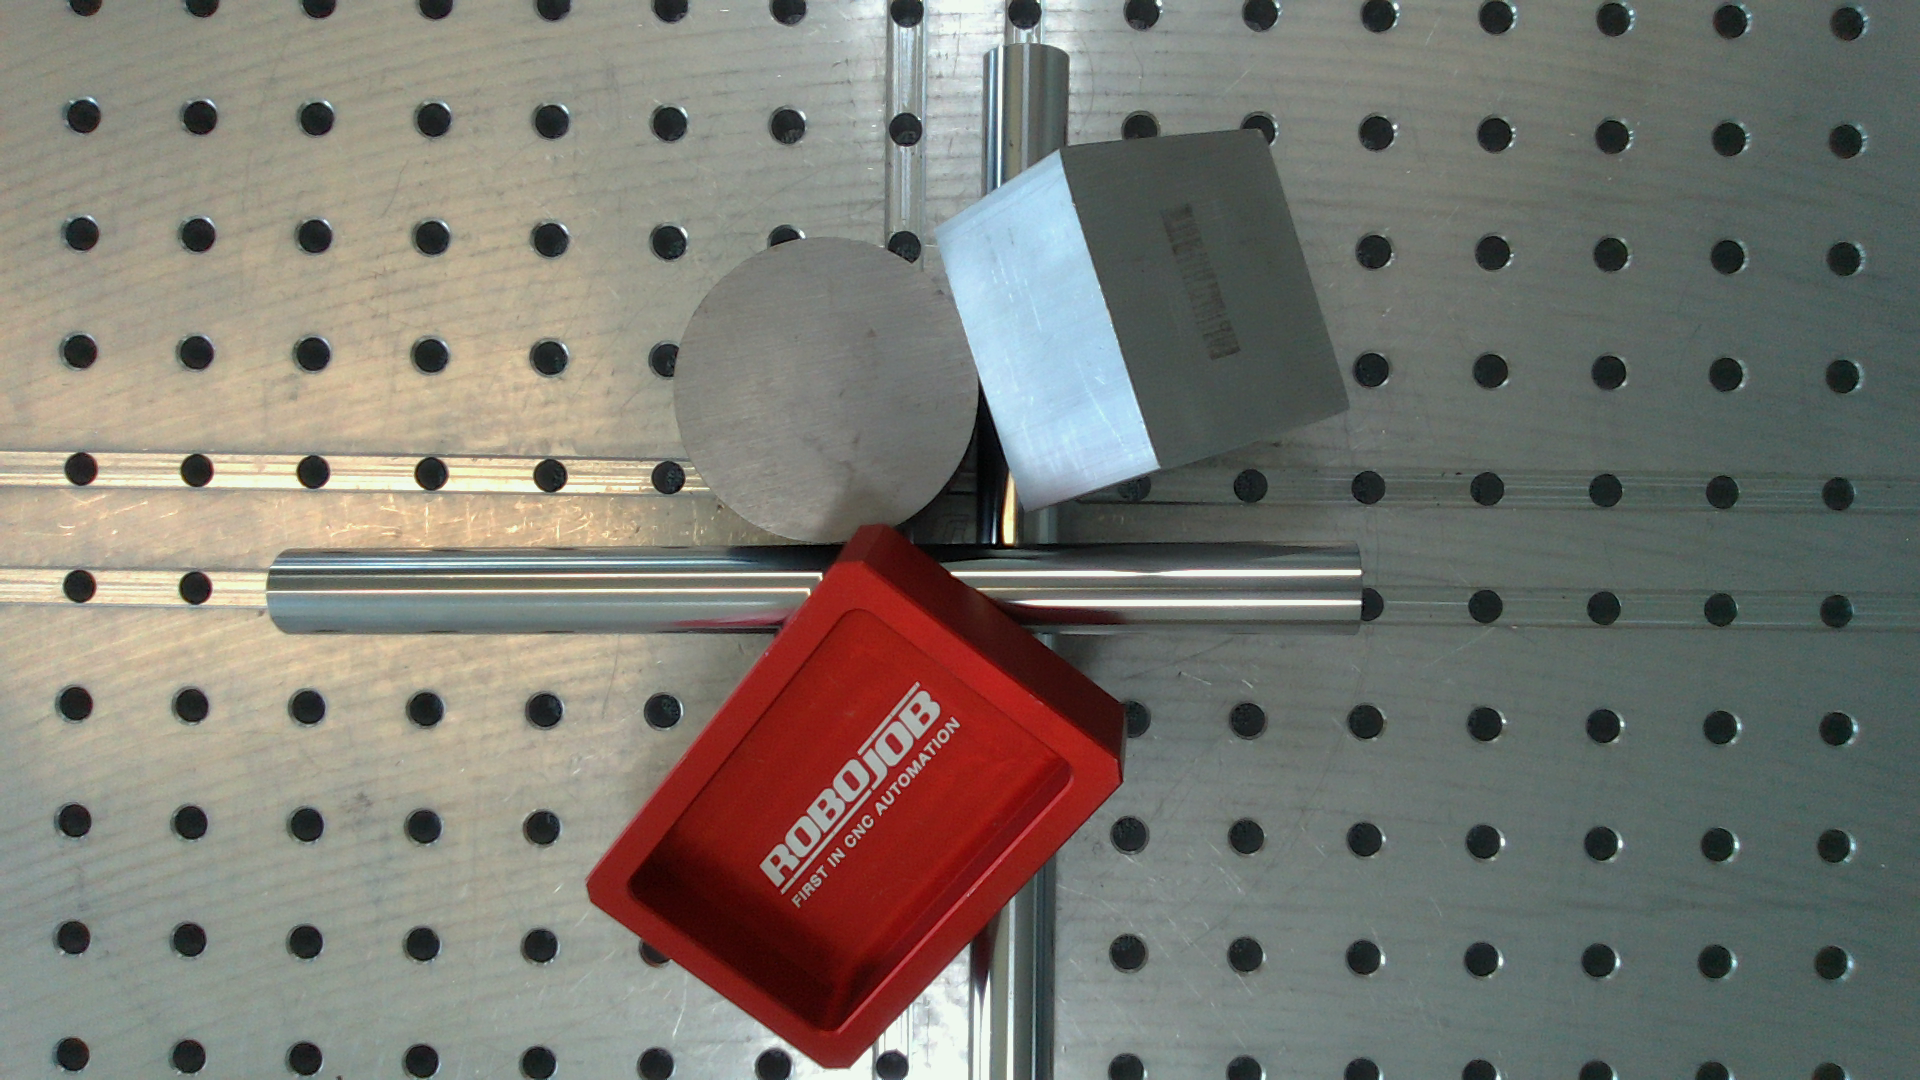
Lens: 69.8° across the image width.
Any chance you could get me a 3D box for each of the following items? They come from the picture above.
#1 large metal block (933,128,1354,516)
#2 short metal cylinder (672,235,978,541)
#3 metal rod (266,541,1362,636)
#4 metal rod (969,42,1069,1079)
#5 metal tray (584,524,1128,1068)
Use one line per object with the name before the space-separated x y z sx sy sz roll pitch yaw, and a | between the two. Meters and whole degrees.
large metal block | 0.050 -0.059 0.365 0.080 0.050 0.080 -18 90 -40
short metal cylinder | -0.035 -0.040 0.384 0.080 0.050 0.080 0 90 0
metal rod | -0.045 0.014 0.381 0.300 0.025 0.025 0 90 7
metal rod | 0.017 0.011 0.397 0.025 0.025 0.300 1 90 0
metal tray | -0.029 0.072 0.369 0.090 0.030 0.130 37 111 -6
